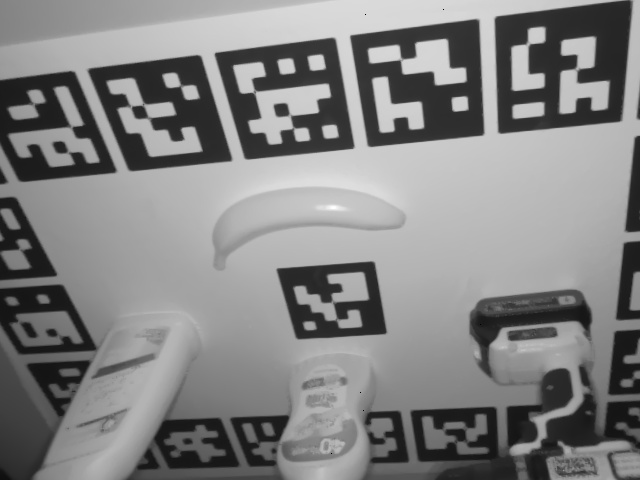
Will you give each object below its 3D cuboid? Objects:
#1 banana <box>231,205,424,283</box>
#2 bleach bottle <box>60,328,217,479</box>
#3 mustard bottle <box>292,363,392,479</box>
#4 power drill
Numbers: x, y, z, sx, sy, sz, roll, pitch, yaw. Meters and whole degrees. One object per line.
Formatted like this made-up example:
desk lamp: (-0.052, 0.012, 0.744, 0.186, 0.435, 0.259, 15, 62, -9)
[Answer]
banana: (-0.002, 0.002, 0.656, 0.196, 0.039, 0.074, -10, 120, 9)
bleach bottle: (-0.180, 0.194, 0.683, 0.102, 0.253, 0.067, 3, 124, 5)
mustard bottle: (0.021, 0.214, 0.717, 0.095, 0.193, 0.058, -10, 122, 15)
power drill: (0.196, 0.179, 0.638, 0.184, 0.188, 0.057, -11, 122, 9)
